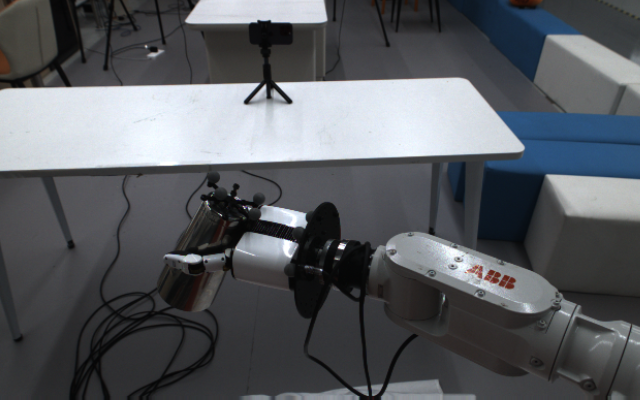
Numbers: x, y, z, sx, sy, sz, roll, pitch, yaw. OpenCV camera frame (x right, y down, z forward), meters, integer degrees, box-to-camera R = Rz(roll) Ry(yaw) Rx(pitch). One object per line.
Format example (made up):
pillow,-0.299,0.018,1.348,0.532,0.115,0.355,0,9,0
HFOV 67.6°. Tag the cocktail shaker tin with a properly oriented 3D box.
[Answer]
cocktail shaker tin,-0.168,0.069,0.706,0.093,0.170,0.093,24,30,-15
